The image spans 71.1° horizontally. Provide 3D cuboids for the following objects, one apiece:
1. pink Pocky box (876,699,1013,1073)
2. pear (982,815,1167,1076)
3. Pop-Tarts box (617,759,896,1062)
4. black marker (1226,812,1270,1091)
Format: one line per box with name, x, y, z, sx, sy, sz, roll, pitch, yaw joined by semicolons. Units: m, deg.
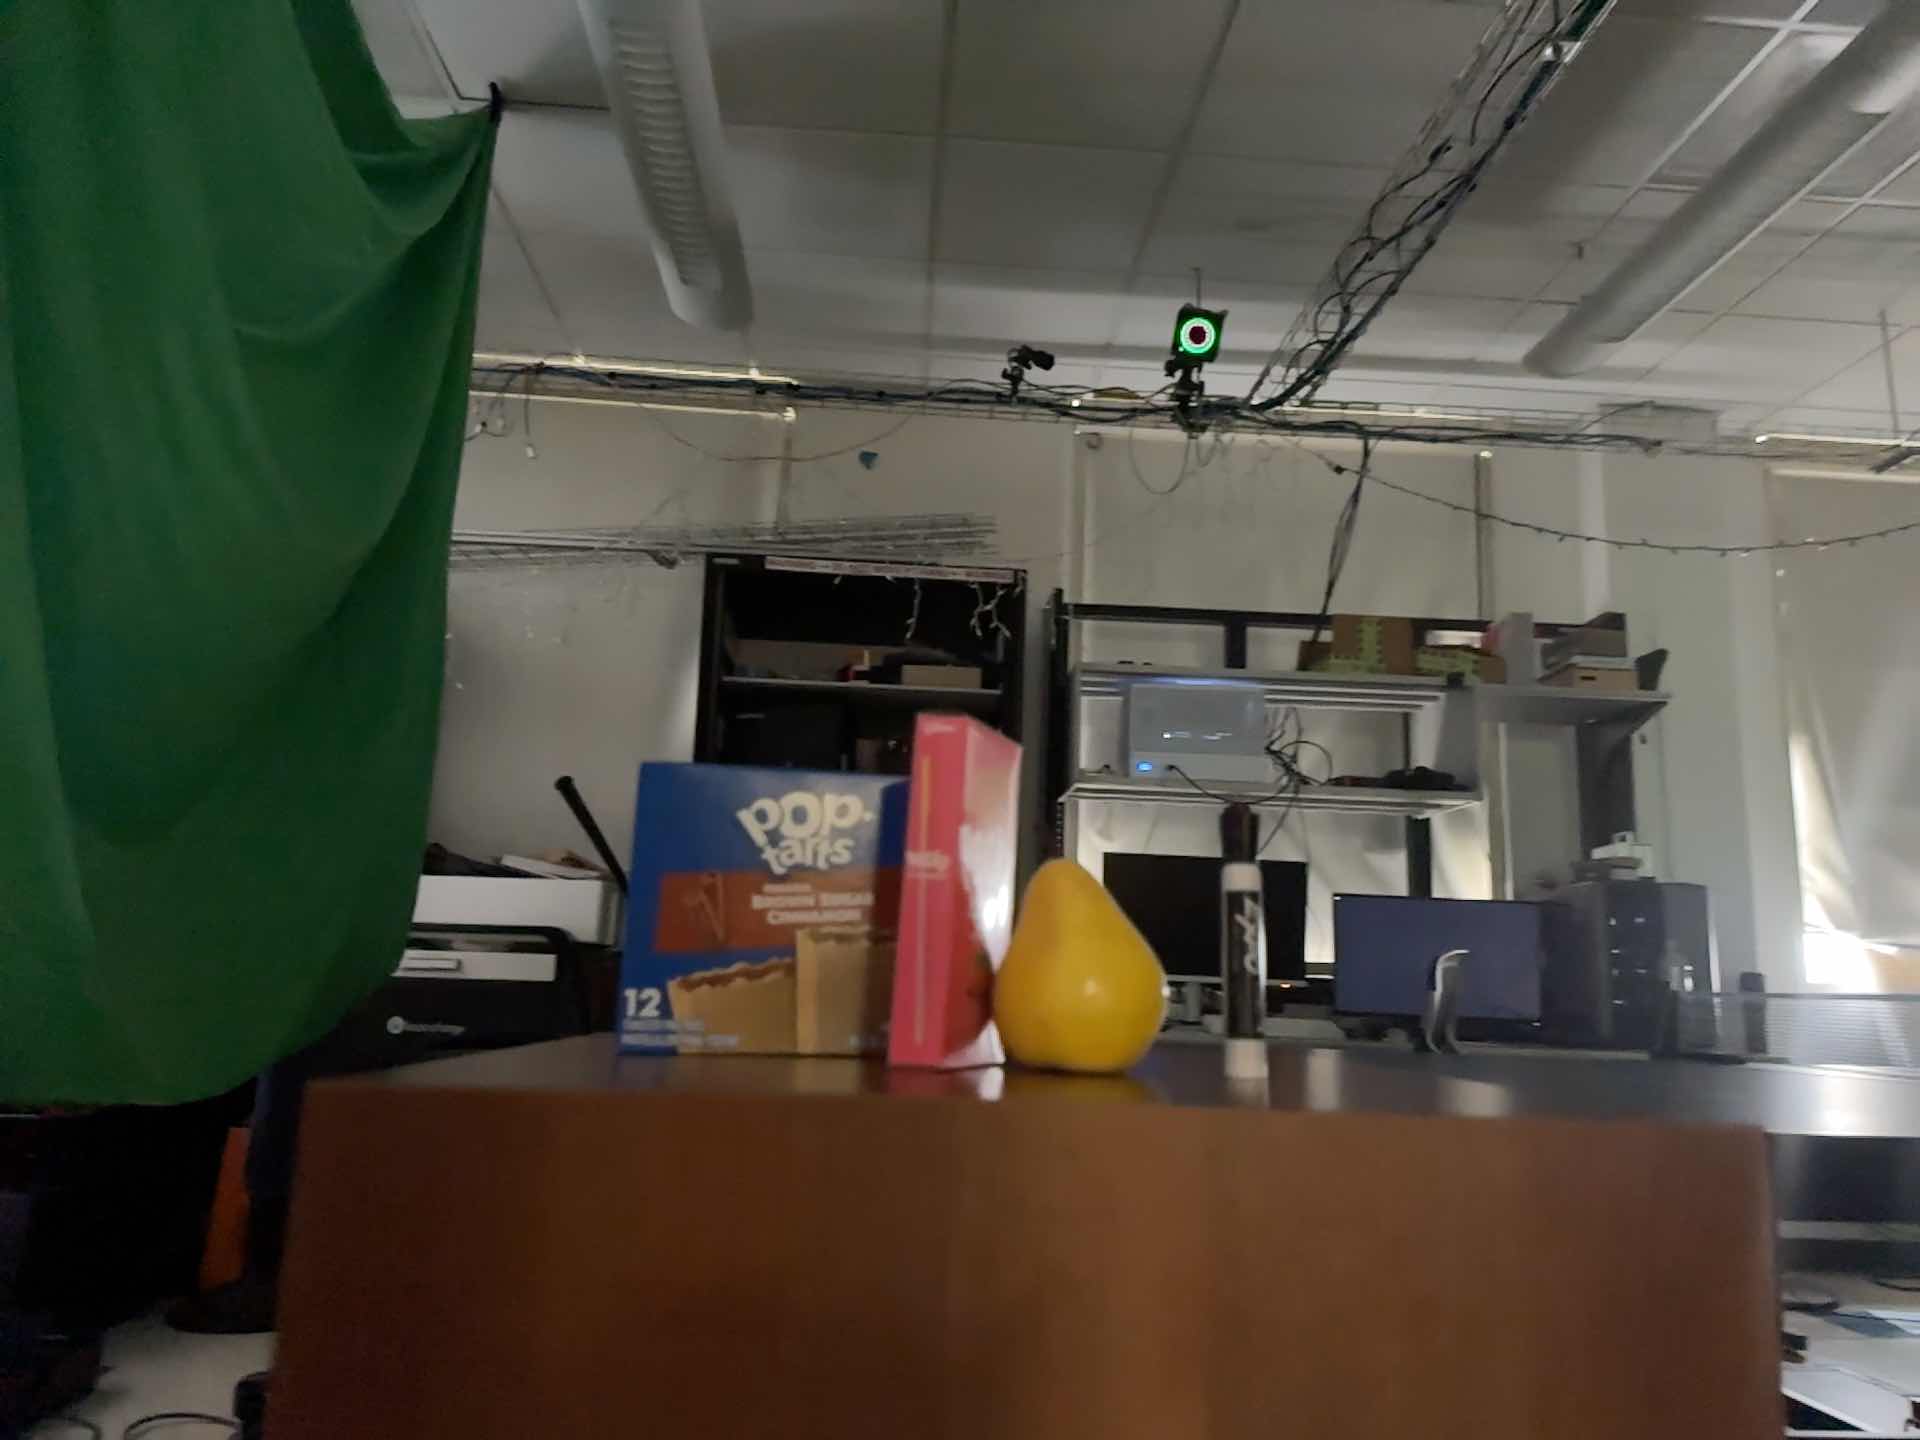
pink Pocky box;-0.005;0.073;0.592;0.029;0.155;0.084;0;-9;19
pear;0.050;0.097;0.586;0.080;0.111;0.080;2;-11;0
Pop-Tarts box;-0.079;0.098;0.679;0.161;0.135;0.075;3;-11;-6
black marker;0.128;0.102;0.598;0.020;0.121;0.020;2;-9;0
